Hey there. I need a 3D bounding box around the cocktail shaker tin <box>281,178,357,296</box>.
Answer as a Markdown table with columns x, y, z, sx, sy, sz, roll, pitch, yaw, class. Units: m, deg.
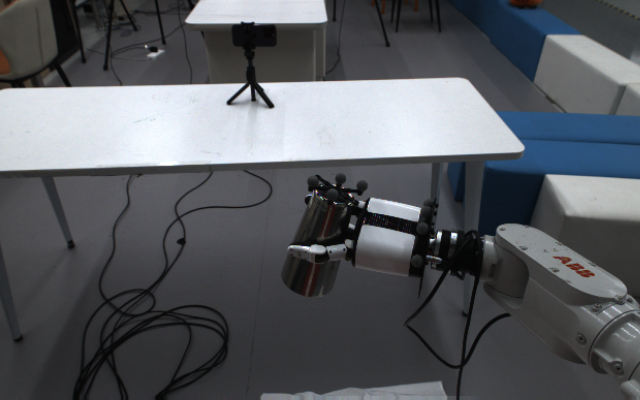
| x | y | z | sx | sy | sz | roll | pitch | yaw | class |
| --- | --- | --- | --- | --- | --- | --- | --- | --- | --- |
| 0.002 | 0.059 | 0.777 | 0.093 | 0.170 | 0.093 | 12 | 29 | -7 | cocktail shaker tin |
